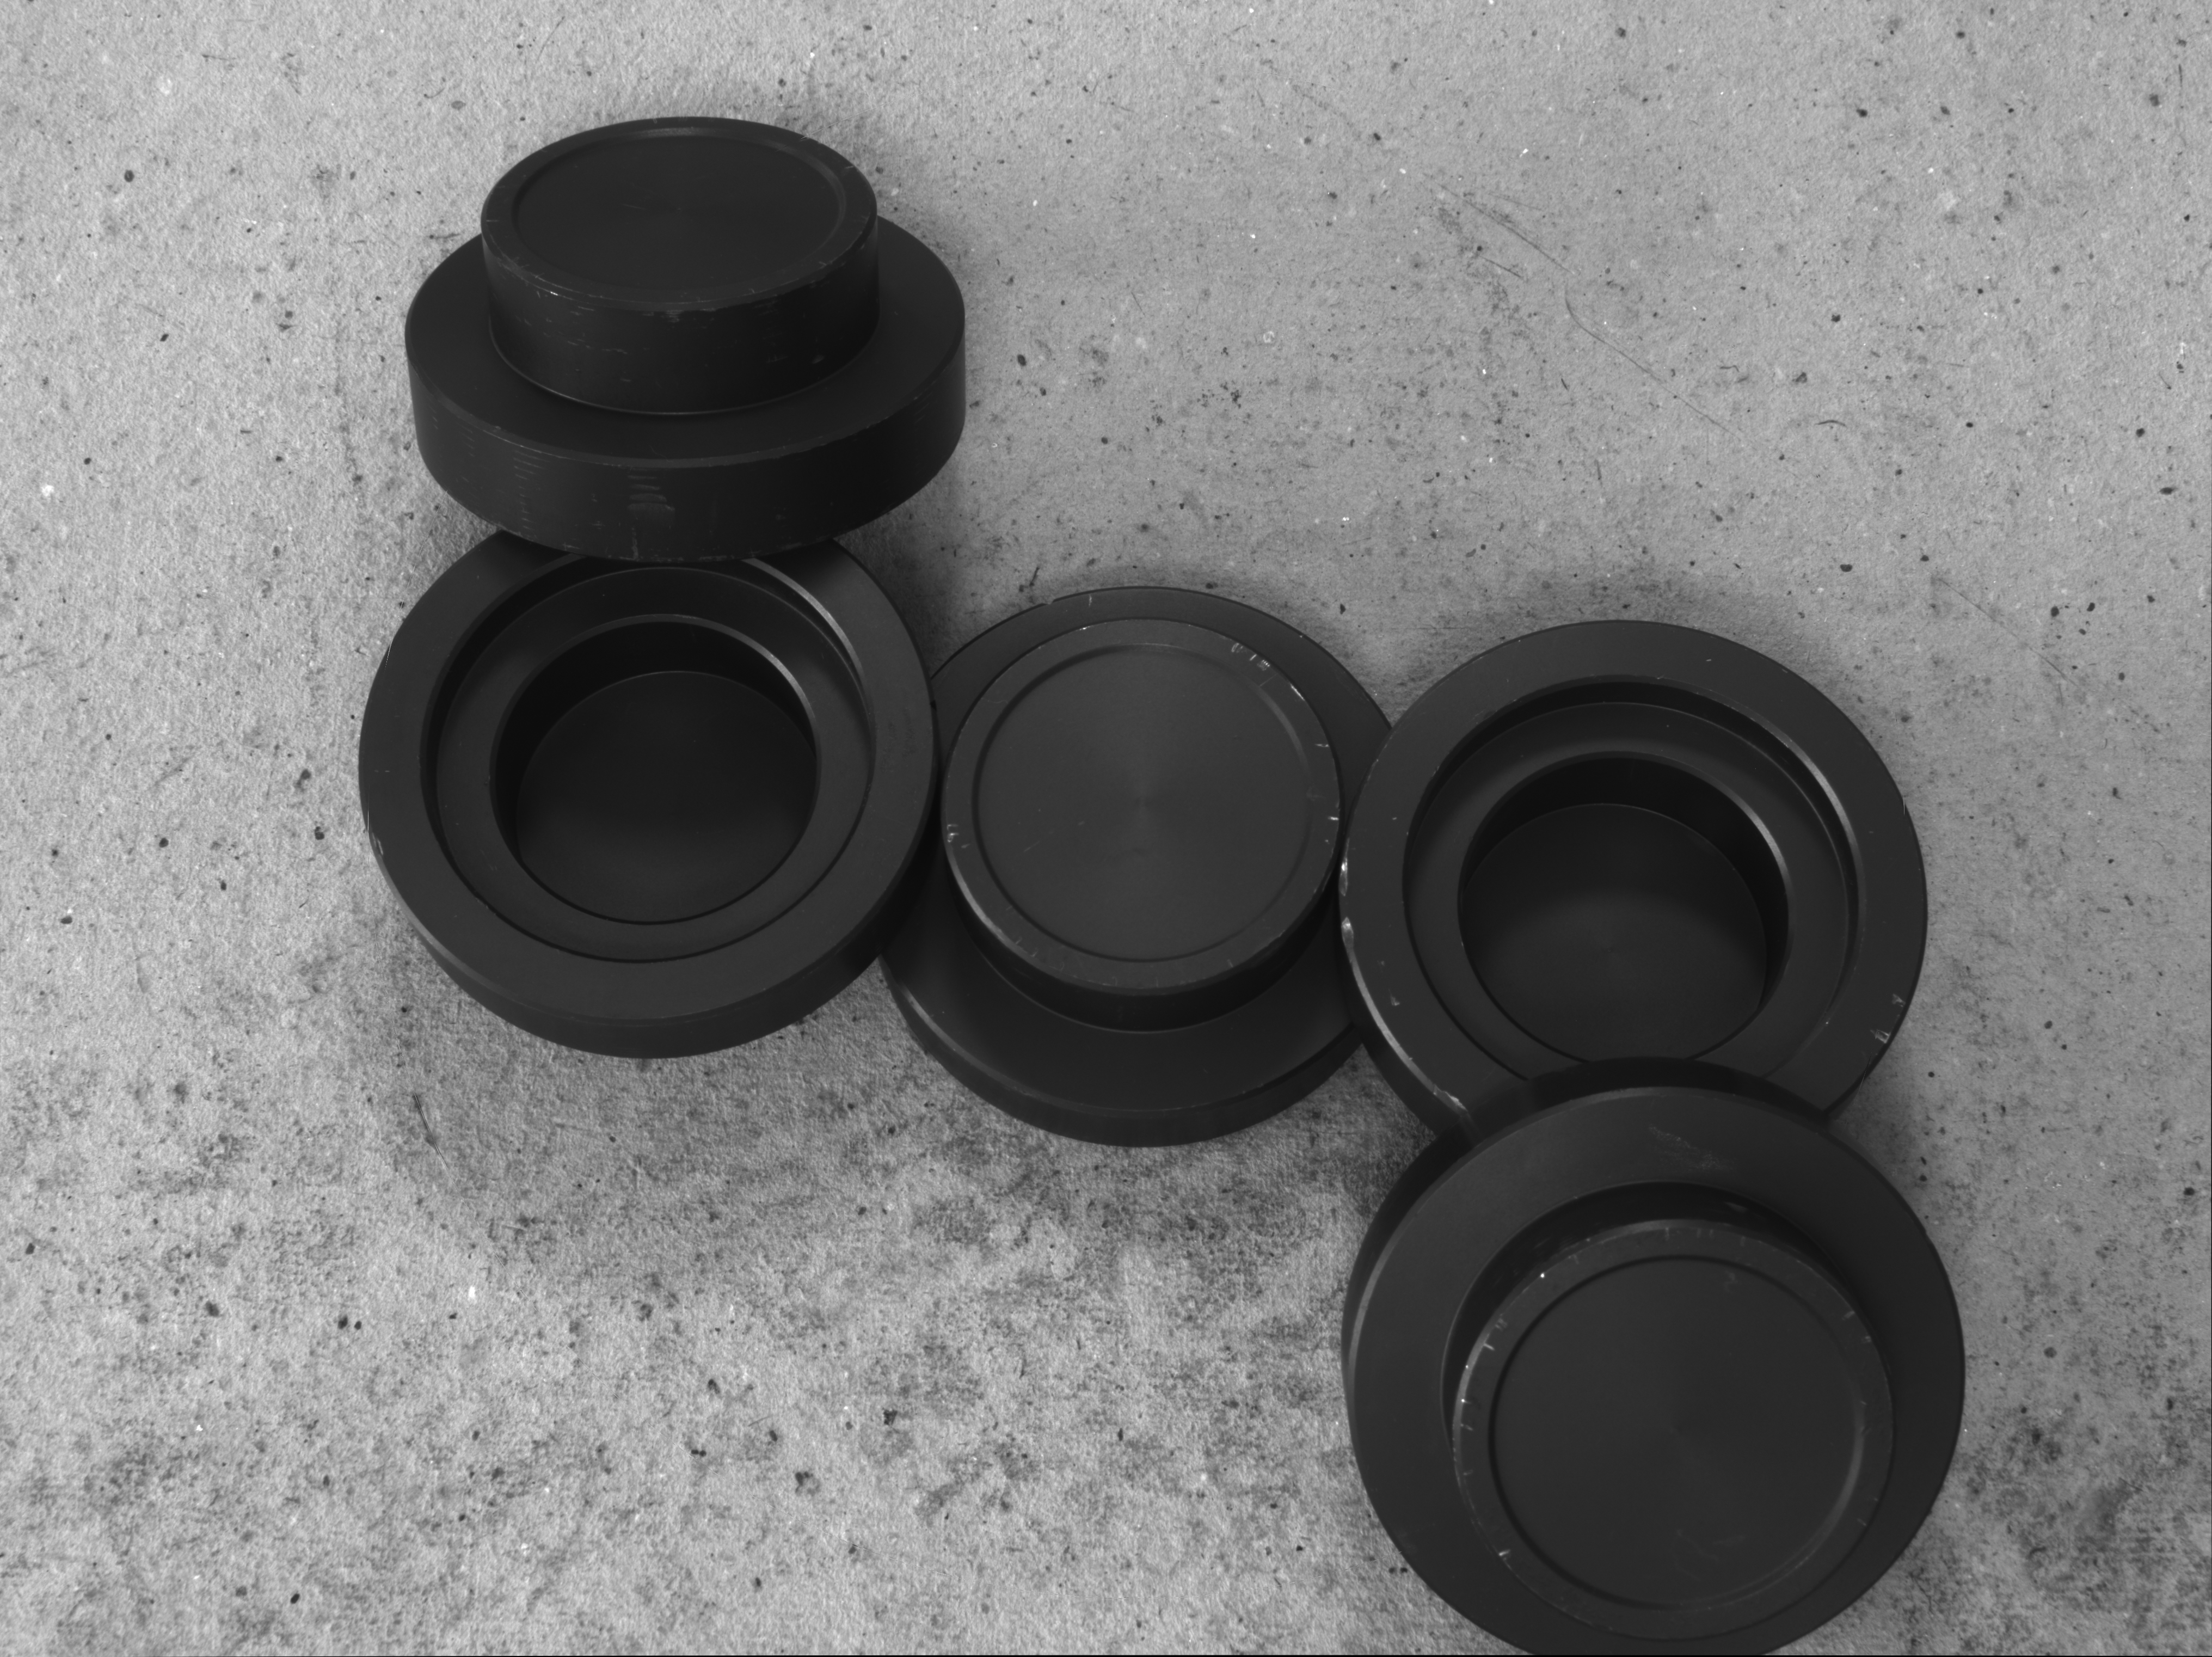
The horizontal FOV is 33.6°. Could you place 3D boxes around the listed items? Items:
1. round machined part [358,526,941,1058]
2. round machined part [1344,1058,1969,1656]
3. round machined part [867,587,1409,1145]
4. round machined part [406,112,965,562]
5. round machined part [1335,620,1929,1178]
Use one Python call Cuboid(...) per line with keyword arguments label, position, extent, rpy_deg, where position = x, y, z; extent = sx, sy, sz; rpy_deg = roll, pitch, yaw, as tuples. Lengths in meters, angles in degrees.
Cuboid(label="round machined part", position=(-0.077, -0.007, 0.638), extent=(0.098, 0.042, 0.098), rpy_deg=(0, 70, 1))
Cuboid(label="round machined part", position=(0.087, 0.088, 0.579), extent=(0.098, 0.042, 0.098), rpy_deg=(0, 99, 0))
Cuboid(label="round machined part", position=(0.006, 0.002, 0.634), extent=(0.098, 0.042, 0.098), rpy_deg=(0, 67, 1))
Cuboid(label="round machined part", position=(-0.074, -0.092, 0.646), extent=(0.098, 0.042, 0.098), rpy_deg=(1, 39, 0))
Cuboid(label="round machined part", position=(0.088, 0.017, 0.629), extent=(0.098, 0.042, 0.098), rpy_deg=(0, 70, 1))
